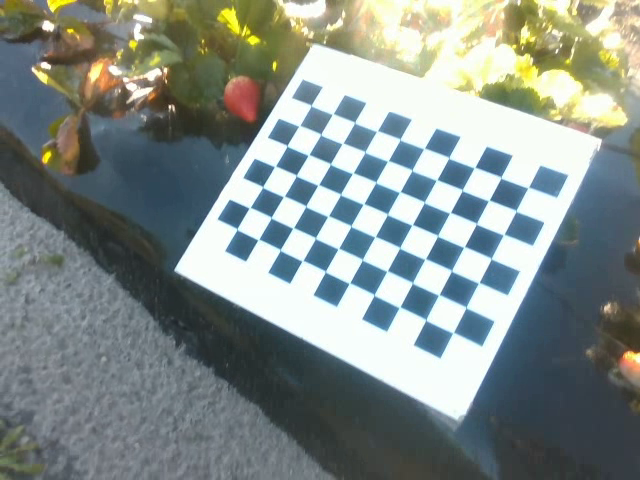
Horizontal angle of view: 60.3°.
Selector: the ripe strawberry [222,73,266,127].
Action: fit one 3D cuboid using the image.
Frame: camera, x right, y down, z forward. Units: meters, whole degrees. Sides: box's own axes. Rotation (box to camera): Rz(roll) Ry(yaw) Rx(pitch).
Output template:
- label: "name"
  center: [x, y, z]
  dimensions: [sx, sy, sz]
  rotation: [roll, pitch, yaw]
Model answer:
- label: "ripe strawberry"
  center: [-0.093, -0.160, 0.631]
  dimensions: [0.040, 0.065, 0.040]
  rotation: [-22, -21, -1]
